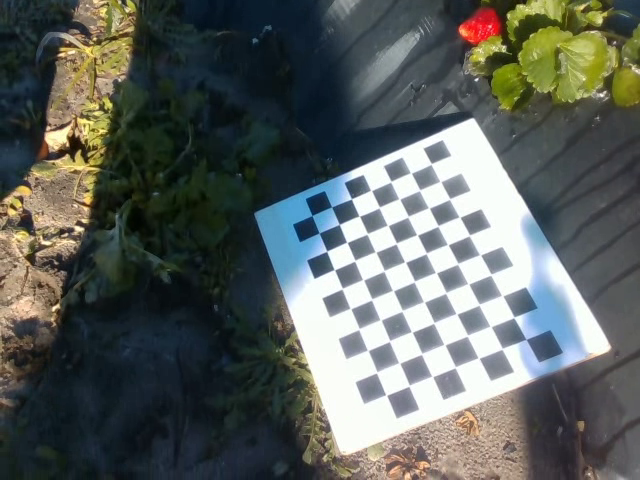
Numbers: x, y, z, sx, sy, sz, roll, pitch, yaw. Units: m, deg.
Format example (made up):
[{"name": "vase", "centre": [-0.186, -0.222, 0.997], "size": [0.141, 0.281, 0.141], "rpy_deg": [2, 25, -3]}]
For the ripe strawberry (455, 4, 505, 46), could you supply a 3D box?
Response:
[{"name": "ripe strawberry", "centre": [0.146, -0.198, 0.597], "size": [0.052, 0.042, 0.047], "rpy_deg": [-11, -32, -34]}]
